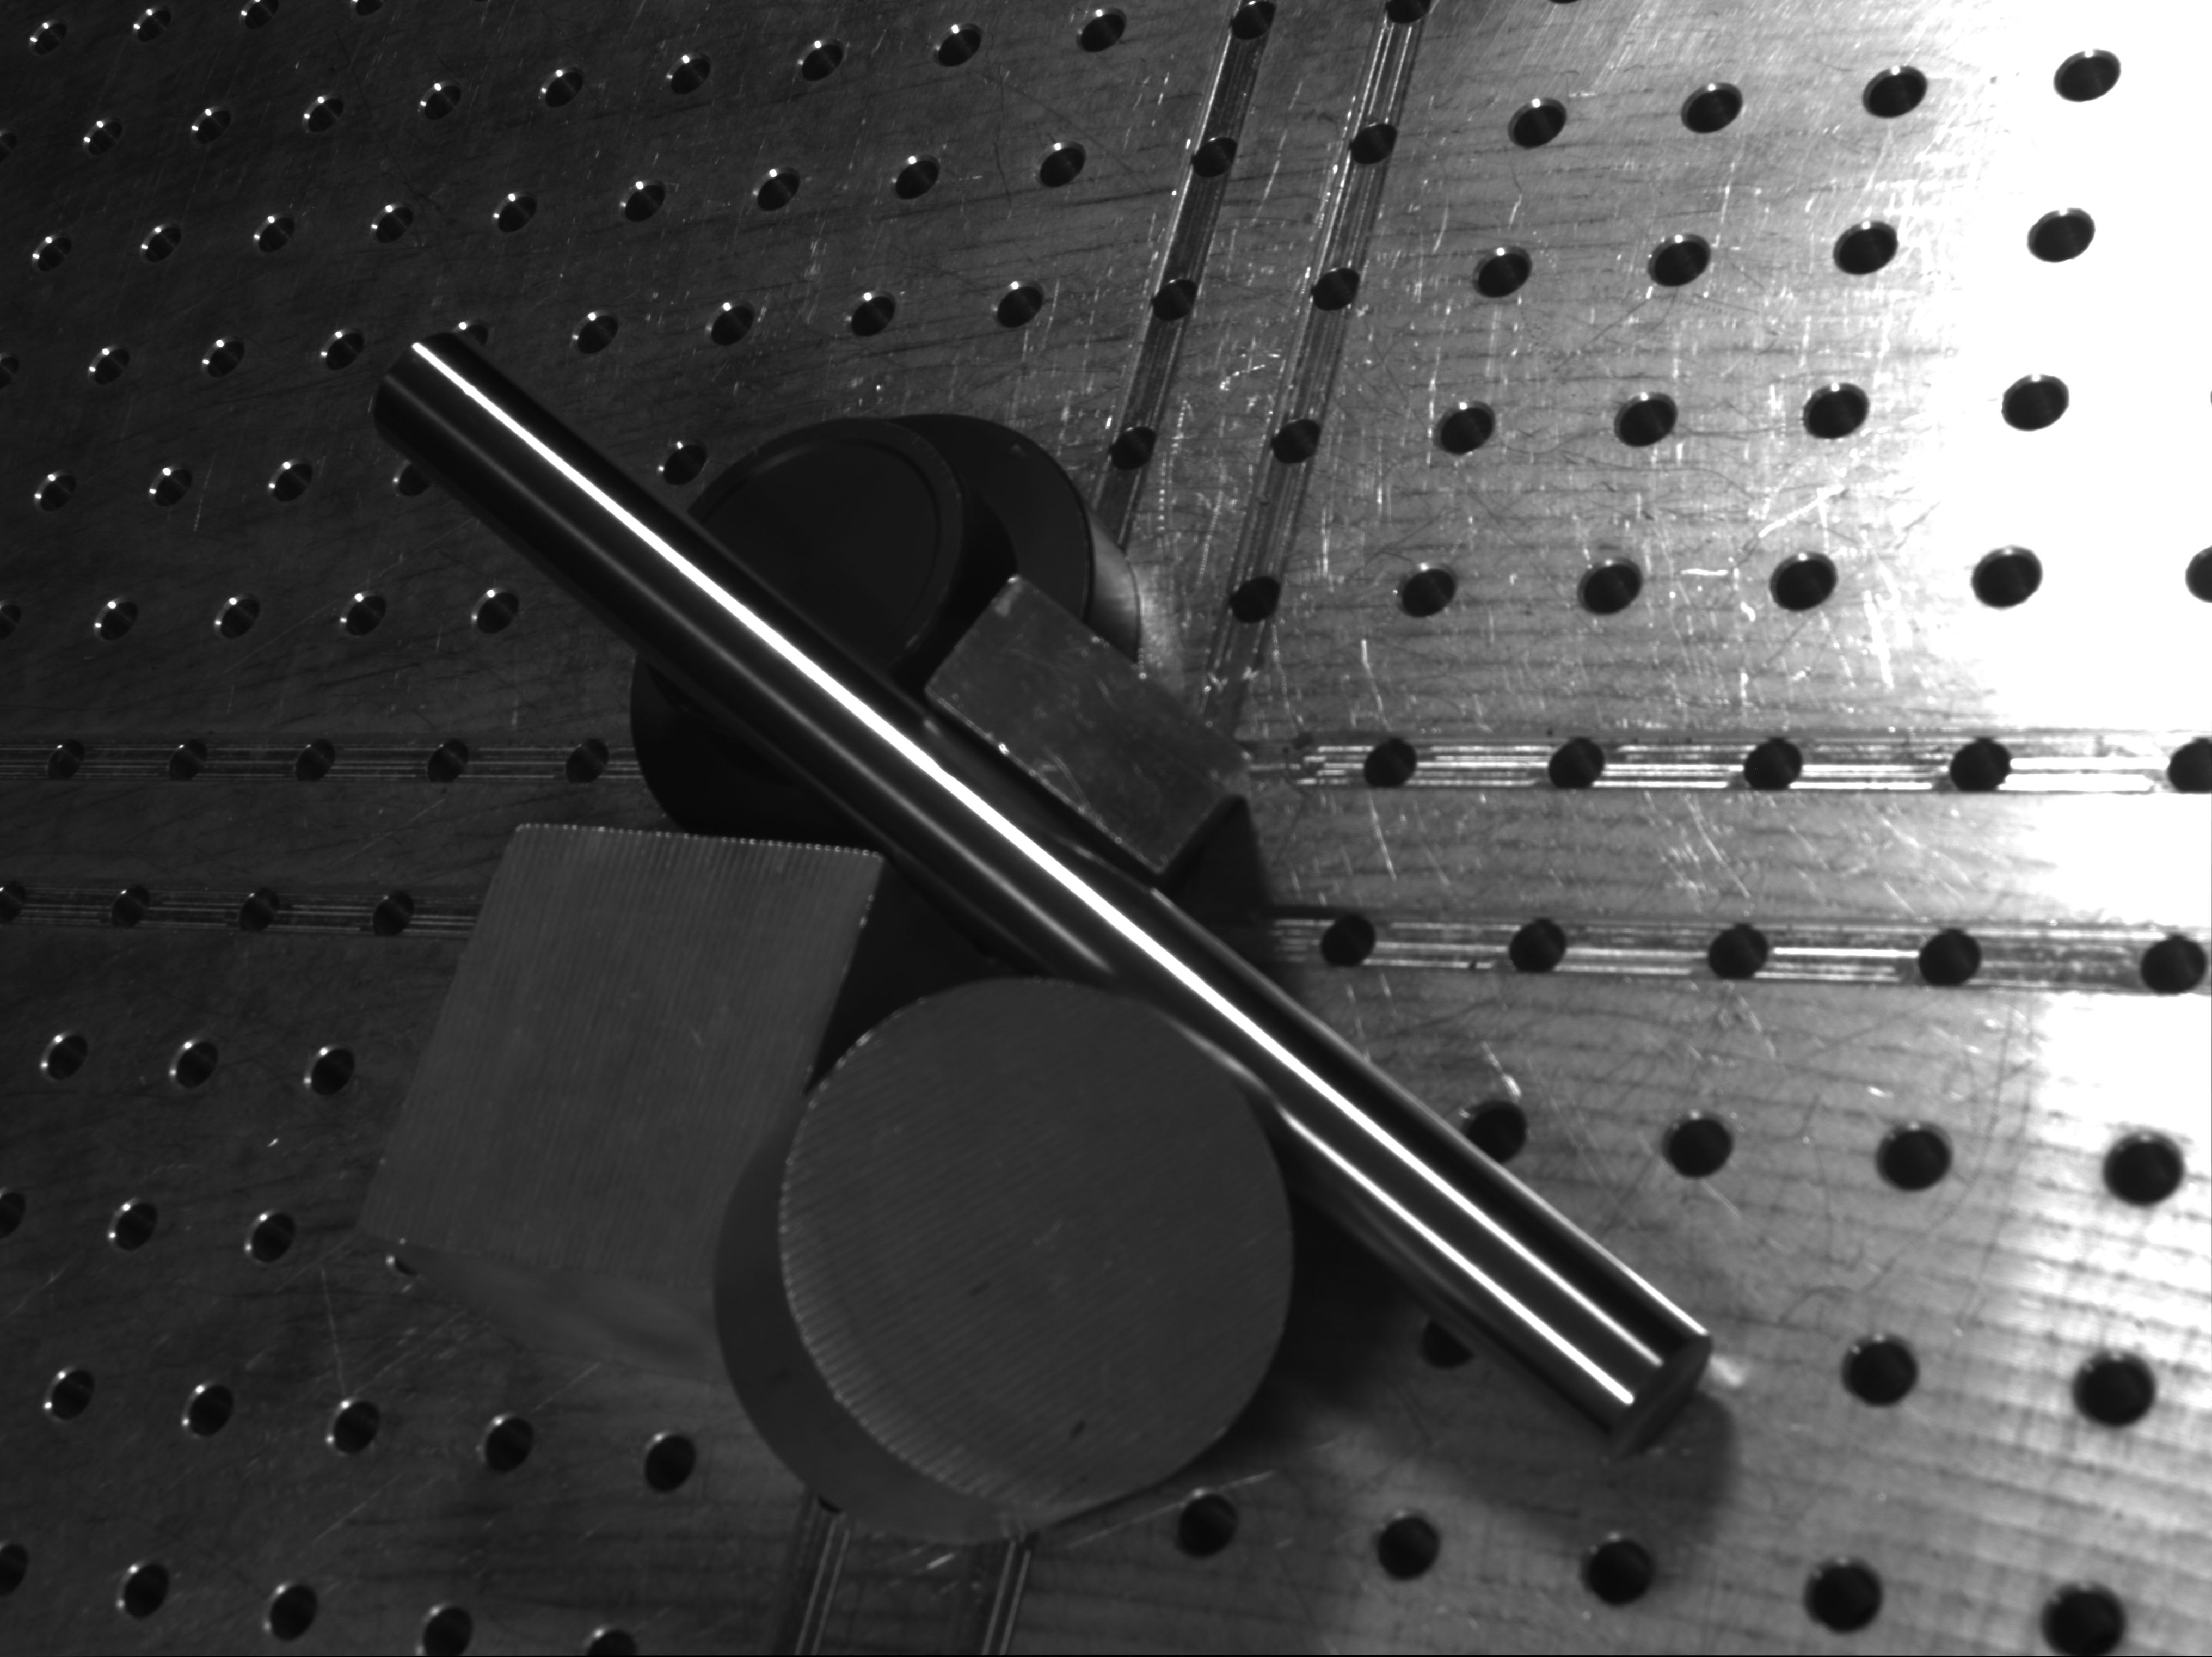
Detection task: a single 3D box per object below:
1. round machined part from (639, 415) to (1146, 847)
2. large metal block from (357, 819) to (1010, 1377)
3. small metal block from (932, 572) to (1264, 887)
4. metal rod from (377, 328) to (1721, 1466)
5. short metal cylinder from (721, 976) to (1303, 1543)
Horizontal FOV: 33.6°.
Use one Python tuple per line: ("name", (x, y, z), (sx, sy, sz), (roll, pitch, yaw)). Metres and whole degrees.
("round machined part", (-0.045, -0.037, 0.684), (0.098, 0.042, 0.098), (-13, 56, 21))
("large metal block", (-0.071, 0.048, 0.636), (0.080, 0.050, 0.080), (5, 64, 31))
("small metal block", (-0.001, -0.015, 0.628), (0.050, 0.050, 0.025), (38, 85, 4))
("metal rod", (-0.021, 0.002, 0.616), (0.299, 0.025, 0.025), (39, 83, 26))
("short metal cylinder", (-0.016, 0.068, 0.570), (0.080, 0.050, 0.080), (6, 72, -17))
